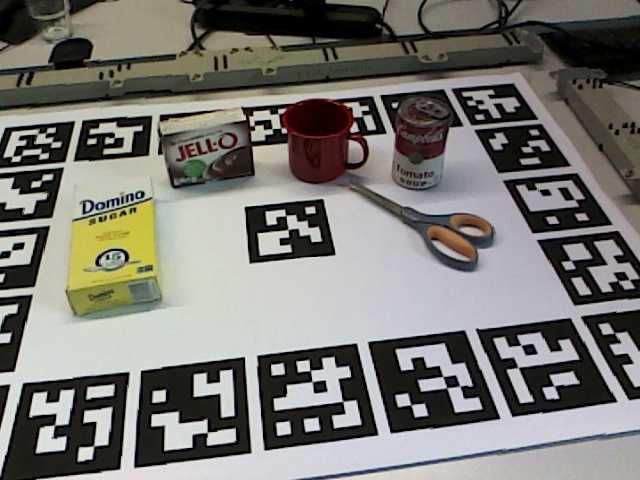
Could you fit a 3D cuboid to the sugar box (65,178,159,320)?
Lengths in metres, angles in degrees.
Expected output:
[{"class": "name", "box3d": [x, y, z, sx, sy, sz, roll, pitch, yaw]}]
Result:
[{"class": "sugar box", "box3d": [-0.242, 0.005, 0.728, 0.093, 0.045, 0.177, -10, 48, -6]}]

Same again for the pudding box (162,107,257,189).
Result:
[{"class": "pudding box", "box3d": [-0.141, -0.120, 0.804, 0.113, 0.090, 0.039, -13, 54, -12]}]

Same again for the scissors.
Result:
[{"class": "scissors", "box3d": [0.117, -0.023, 0.759, 0.204, 0.016, 0.087, 31, 64, 26]}]

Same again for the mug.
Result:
[{"class": "mug", "box3d": [0.006, -0.132, 0.823, 0.093, 0.081, 0.118, -37, 55, -26]}]

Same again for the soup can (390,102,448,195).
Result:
[{"class": "soup can", "box3d": [0.126, -0.117, 0.803, 0.068, 0.102, 0.068, -1, 45, 1]}]
